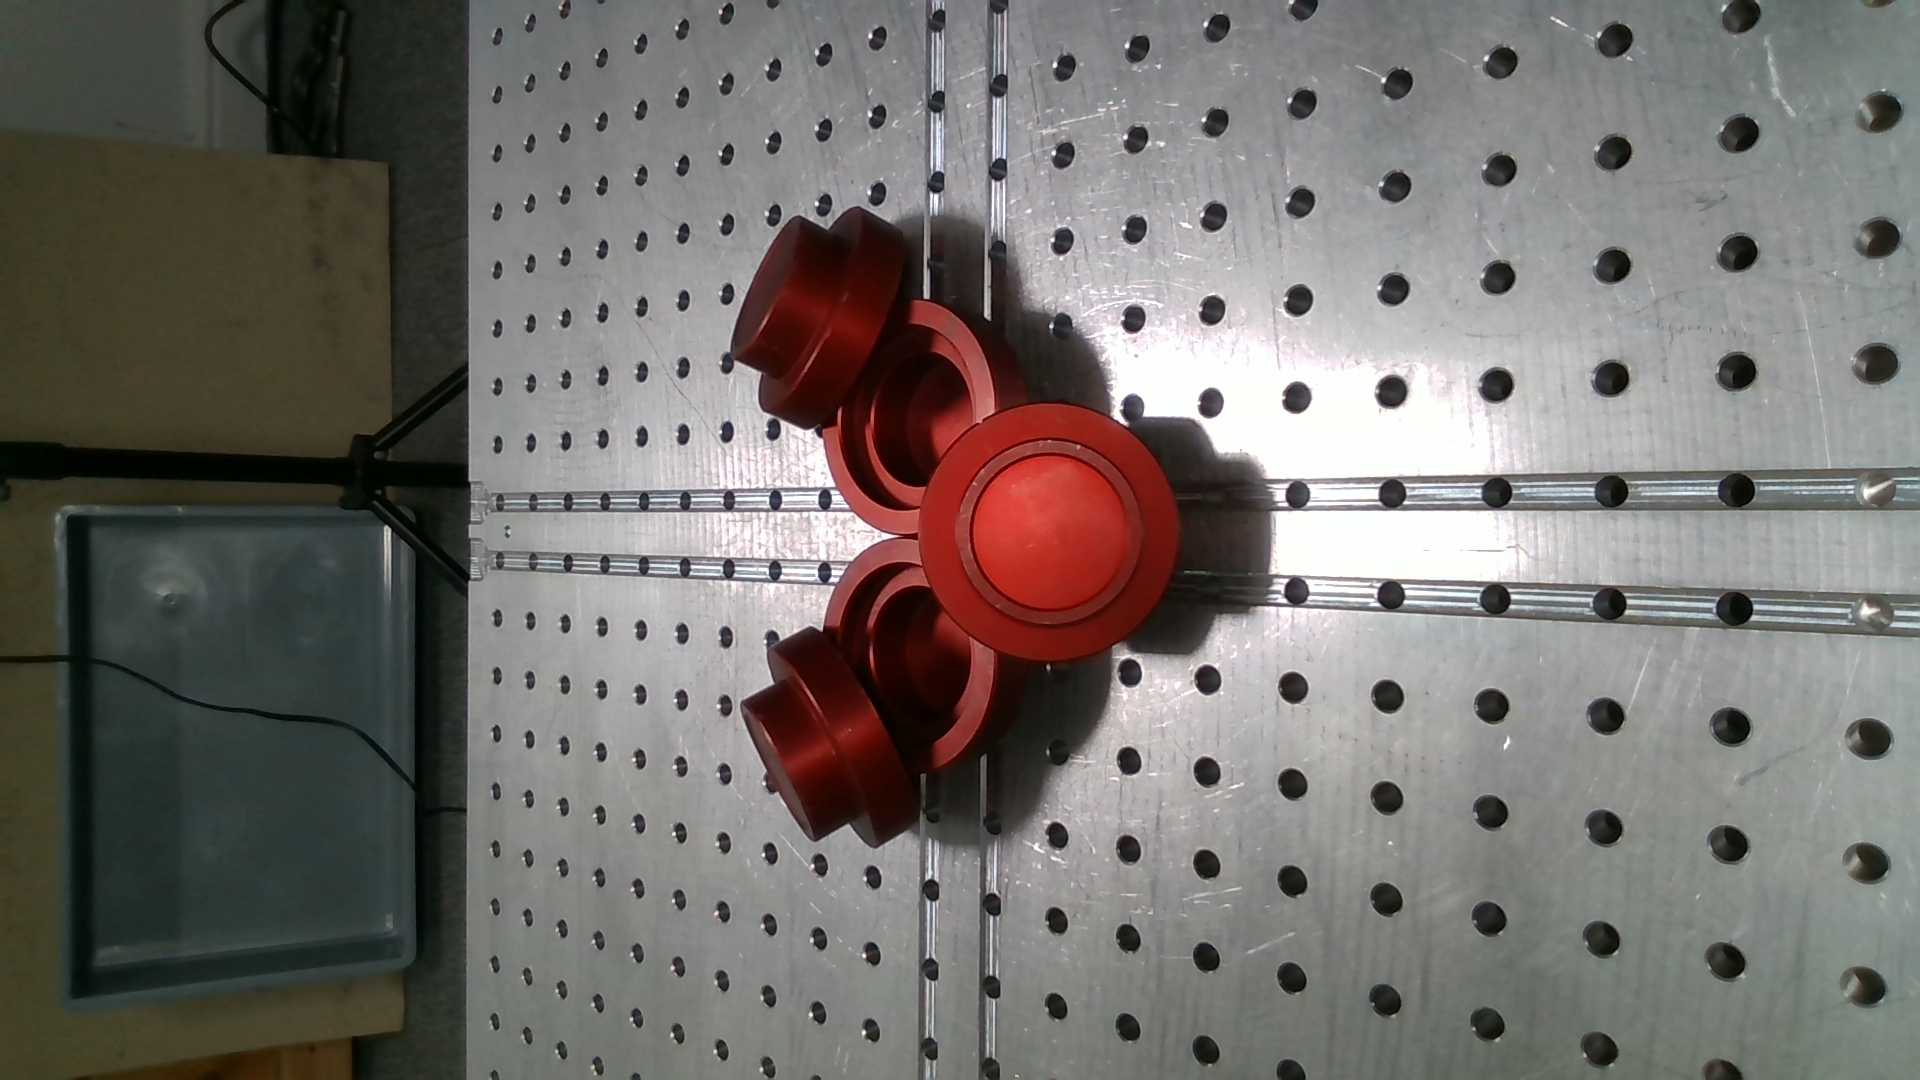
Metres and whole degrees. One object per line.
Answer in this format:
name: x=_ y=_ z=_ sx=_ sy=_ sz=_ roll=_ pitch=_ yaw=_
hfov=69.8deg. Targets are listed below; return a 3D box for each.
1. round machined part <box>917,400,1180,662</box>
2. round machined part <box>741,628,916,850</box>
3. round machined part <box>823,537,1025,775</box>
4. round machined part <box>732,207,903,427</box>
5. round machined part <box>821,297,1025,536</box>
round machined part: x=0.033 y=-0.003 z=0.513 sx=0.098 sy=0.042 sz=0.098 roll=0 pitch=90 yaw=2
round machined part: x=-0.061 y=0.090 z=0.591 sx=0.098 sy=0.042 sz=0.098 roll=52 pitch=159 yaw=30
round machined part: x=-0.010 y=0.048 z=0.583 sx=0.098 sy=0.042 sz=0.098 roll=0 pitch=91 yaw=40
round machined part: x=-0.067 y=-0.101 z=0.599 sx=0.098 sy=0.042 sz=0.098 roll=-49 pitch=27 yaw=36
round machined part: x=-0.010 y=-0.051 z=0.581 sx=0.098 sy=0.042 sz=0.098 roll=0 pitch=91 yaw=40
